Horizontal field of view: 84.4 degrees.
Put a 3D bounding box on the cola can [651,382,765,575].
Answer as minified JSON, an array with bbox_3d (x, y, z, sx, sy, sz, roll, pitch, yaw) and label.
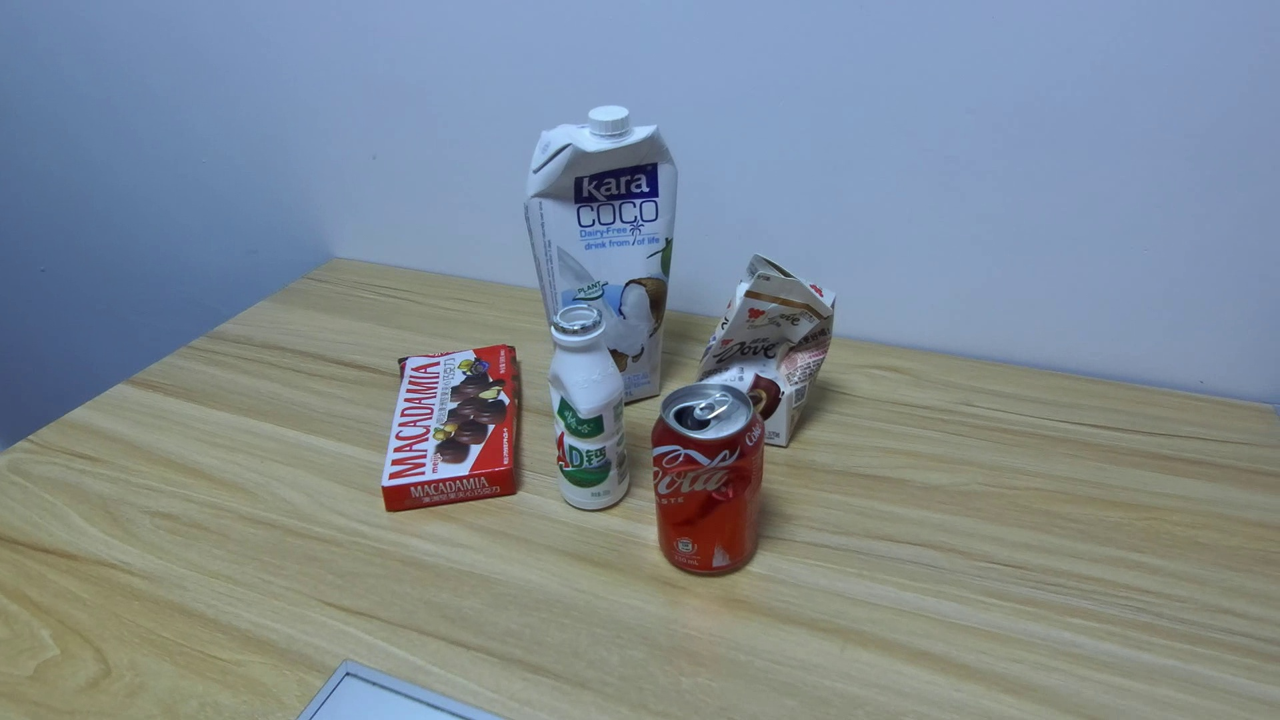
[{"bbox_3d":[0.042,0.073,0.440,0.066,0.117,0.066,7,34,16],"label":"cola can"}]

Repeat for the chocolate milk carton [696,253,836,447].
[{"bbox_3d":[0.097,-0.009,0.536,0.089,0.155,0.077,18,41,7],"label":"chocolate milk carton"}]

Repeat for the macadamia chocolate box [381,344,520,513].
[{"bbox_3d":[-0.151,0.047,0.583,0.106,0.028,0.182,-8,34,-8],"label":"macadamia chocolate box"}]

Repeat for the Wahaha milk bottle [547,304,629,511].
[{"bbox_3d":[-0.037,0.034,0.478,0.056,0.148,0.056,-2,34,2],"label":"Wahaha milk bottle"}]

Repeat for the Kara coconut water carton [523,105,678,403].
[{"bbox_3d":[-0.028,-0.076,0.561,0.115,0.239,0.069,-14,33,-21],"label":"Kara coconut water carton"}]
